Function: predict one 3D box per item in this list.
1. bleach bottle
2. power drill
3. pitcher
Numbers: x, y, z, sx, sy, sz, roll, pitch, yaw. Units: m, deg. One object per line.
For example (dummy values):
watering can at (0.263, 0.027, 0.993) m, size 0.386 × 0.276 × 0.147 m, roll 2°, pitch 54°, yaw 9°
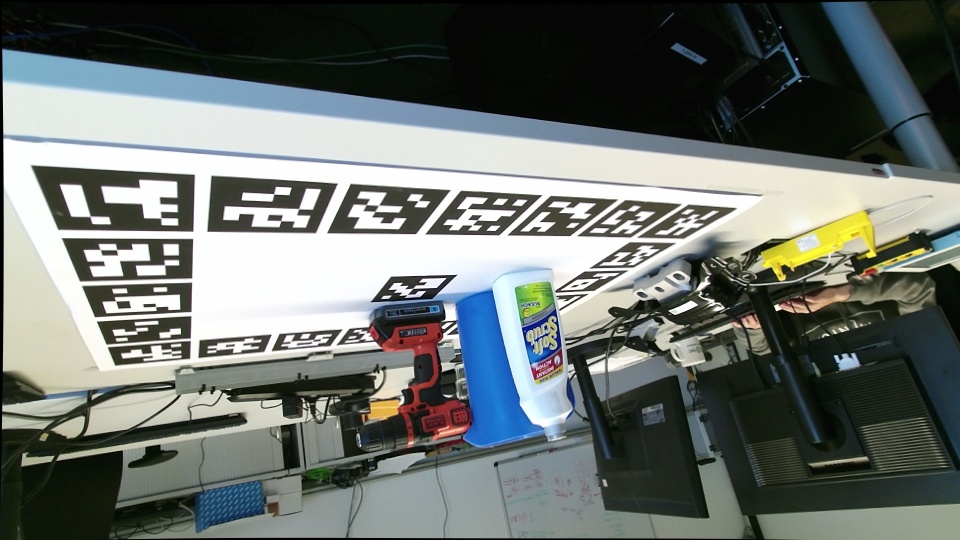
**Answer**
bleach bottle at (0.107, 0.151, 0.812) m, size 0.103 × 0.249 × 0.068 m, roll -7°, pitch 156°, yaw -23°
power drill at (-0.108, 0.185, 0.830) m, size 0.185 × 0.186 × 0.057 m, roll 0°, pitch 150°, yaw -22°
pitcher at (0.049, 0.179, 0.894) m, size 0.189 × 0.241 × 0.133 m, roll -14°, pitch 156°, yaw -5°
